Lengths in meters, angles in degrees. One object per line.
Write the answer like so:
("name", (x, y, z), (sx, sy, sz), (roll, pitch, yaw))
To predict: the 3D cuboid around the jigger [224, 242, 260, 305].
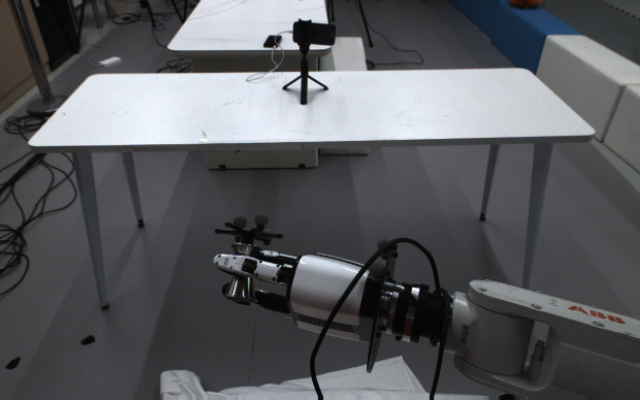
("jigger", (-0.098, 0.092, 0.616), (0.043, 0.043, 0.071), (4, 71, 3))
